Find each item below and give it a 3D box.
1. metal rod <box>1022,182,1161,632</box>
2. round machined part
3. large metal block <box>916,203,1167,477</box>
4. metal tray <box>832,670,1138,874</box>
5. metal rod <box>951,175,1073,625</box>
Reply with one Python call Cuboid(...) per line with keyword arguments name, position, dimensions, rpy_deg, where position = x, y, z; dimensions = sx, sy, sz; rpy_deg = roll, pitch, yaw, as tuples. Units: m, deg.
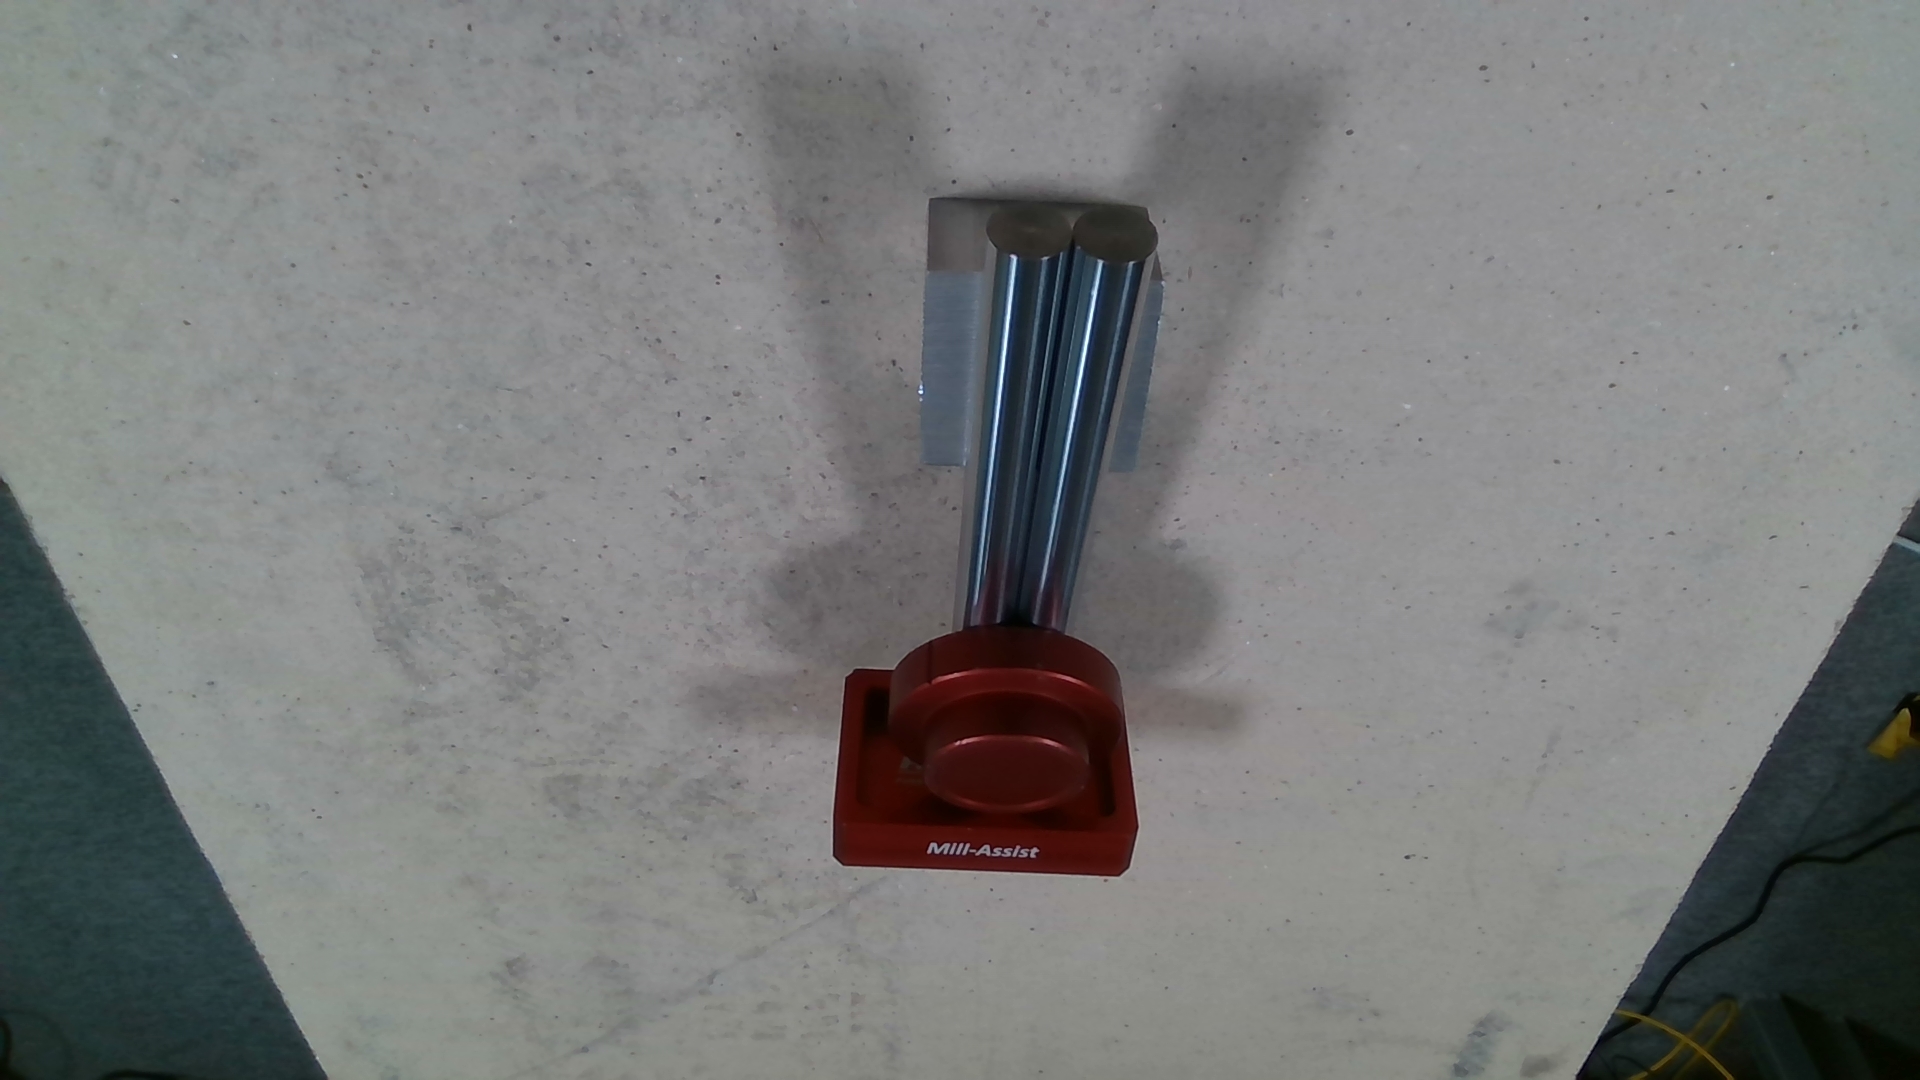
Cuboid(name="metal rod", position=(0.039, -0.004, 0.517), dimensions=(0.025, 0.025, 0.301), rpy_deg=(2, 143, -2))
Cuboid(name="round machined part", position=(0.019, 0.079, 0.571), dimensions=(0.098, 0.042, 0.098), rpy_deg=(2, 141, 1))
Cuboid(name="large metal block", position=(0.026, -0.072, 0.498), dimensions=(0.080, 0.050, 0.080), rpy_deg=(2, 130, -2))
Cuboid(name="metal tray", position=(0.010, 0.104, 0.623), dimensions=(0.130, 0.090, 0.030), rpy_deg=(3, 130, -2))
Cuboid(name="metal rod", position=(0.012, -0.006, 0.516), dimensions=(0.025, 0.025, 0.301), rpy_deg=(2, 143, -2))
